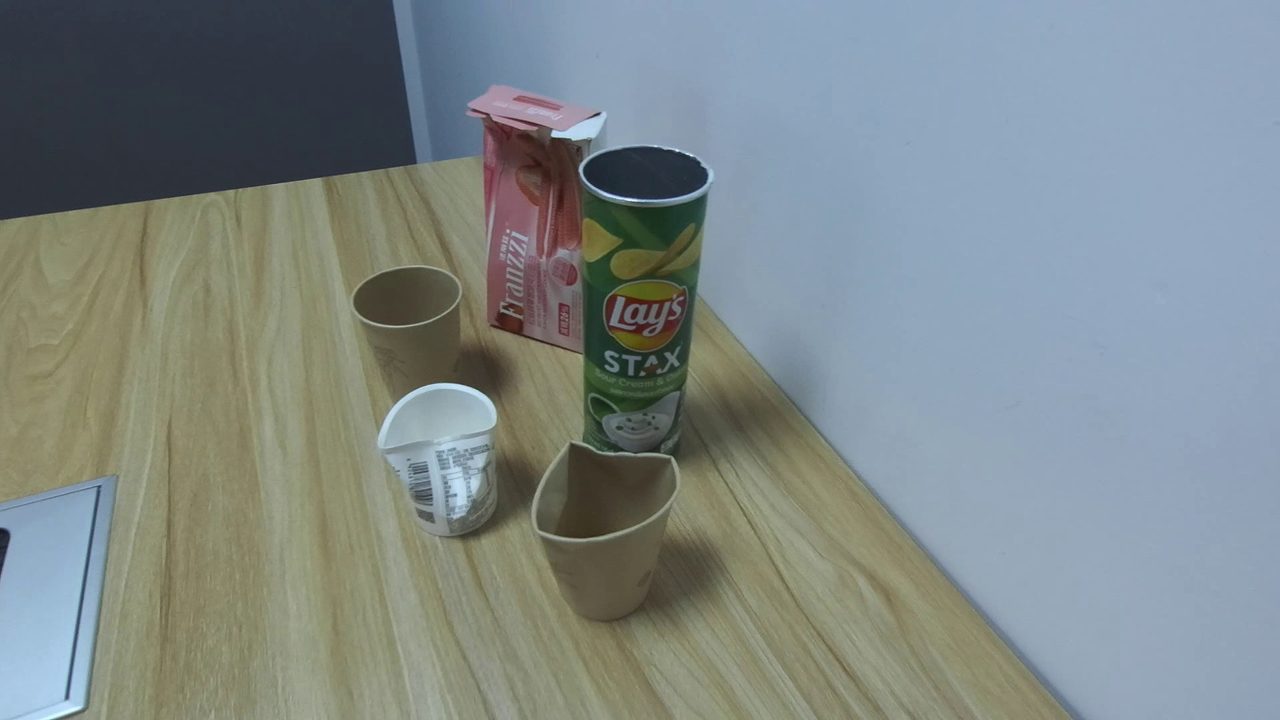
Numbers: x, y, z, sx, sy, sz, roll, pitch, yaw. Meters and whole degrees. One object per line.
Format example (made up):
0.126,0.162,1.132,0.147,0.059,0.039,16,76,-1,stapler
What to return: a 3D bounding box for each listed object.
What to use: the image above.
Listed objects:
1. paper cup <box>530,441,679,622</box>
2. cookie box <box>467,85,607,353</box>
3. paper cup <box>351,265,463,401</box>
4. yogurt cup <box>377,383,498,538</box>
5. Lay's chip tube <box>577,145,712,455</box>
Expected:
-0.017,0.097,0.379,0.071,0.084,0.066,7,40,7,paper cup
-0.075,-0.100,0.537,0.118,0.184,0.055,20,42,20,cookie box
-0.159,-0.012,0.503,0.075,0.082,0.075,2,38,-1,paper cup
-0.117,0.062,0.429,0.067,0.070,0.067,-1,40,1,yogurt cup
0.000,-0.022,0.427,0.071,0.203,0.071,2,40,-1,Lay's chip tube
